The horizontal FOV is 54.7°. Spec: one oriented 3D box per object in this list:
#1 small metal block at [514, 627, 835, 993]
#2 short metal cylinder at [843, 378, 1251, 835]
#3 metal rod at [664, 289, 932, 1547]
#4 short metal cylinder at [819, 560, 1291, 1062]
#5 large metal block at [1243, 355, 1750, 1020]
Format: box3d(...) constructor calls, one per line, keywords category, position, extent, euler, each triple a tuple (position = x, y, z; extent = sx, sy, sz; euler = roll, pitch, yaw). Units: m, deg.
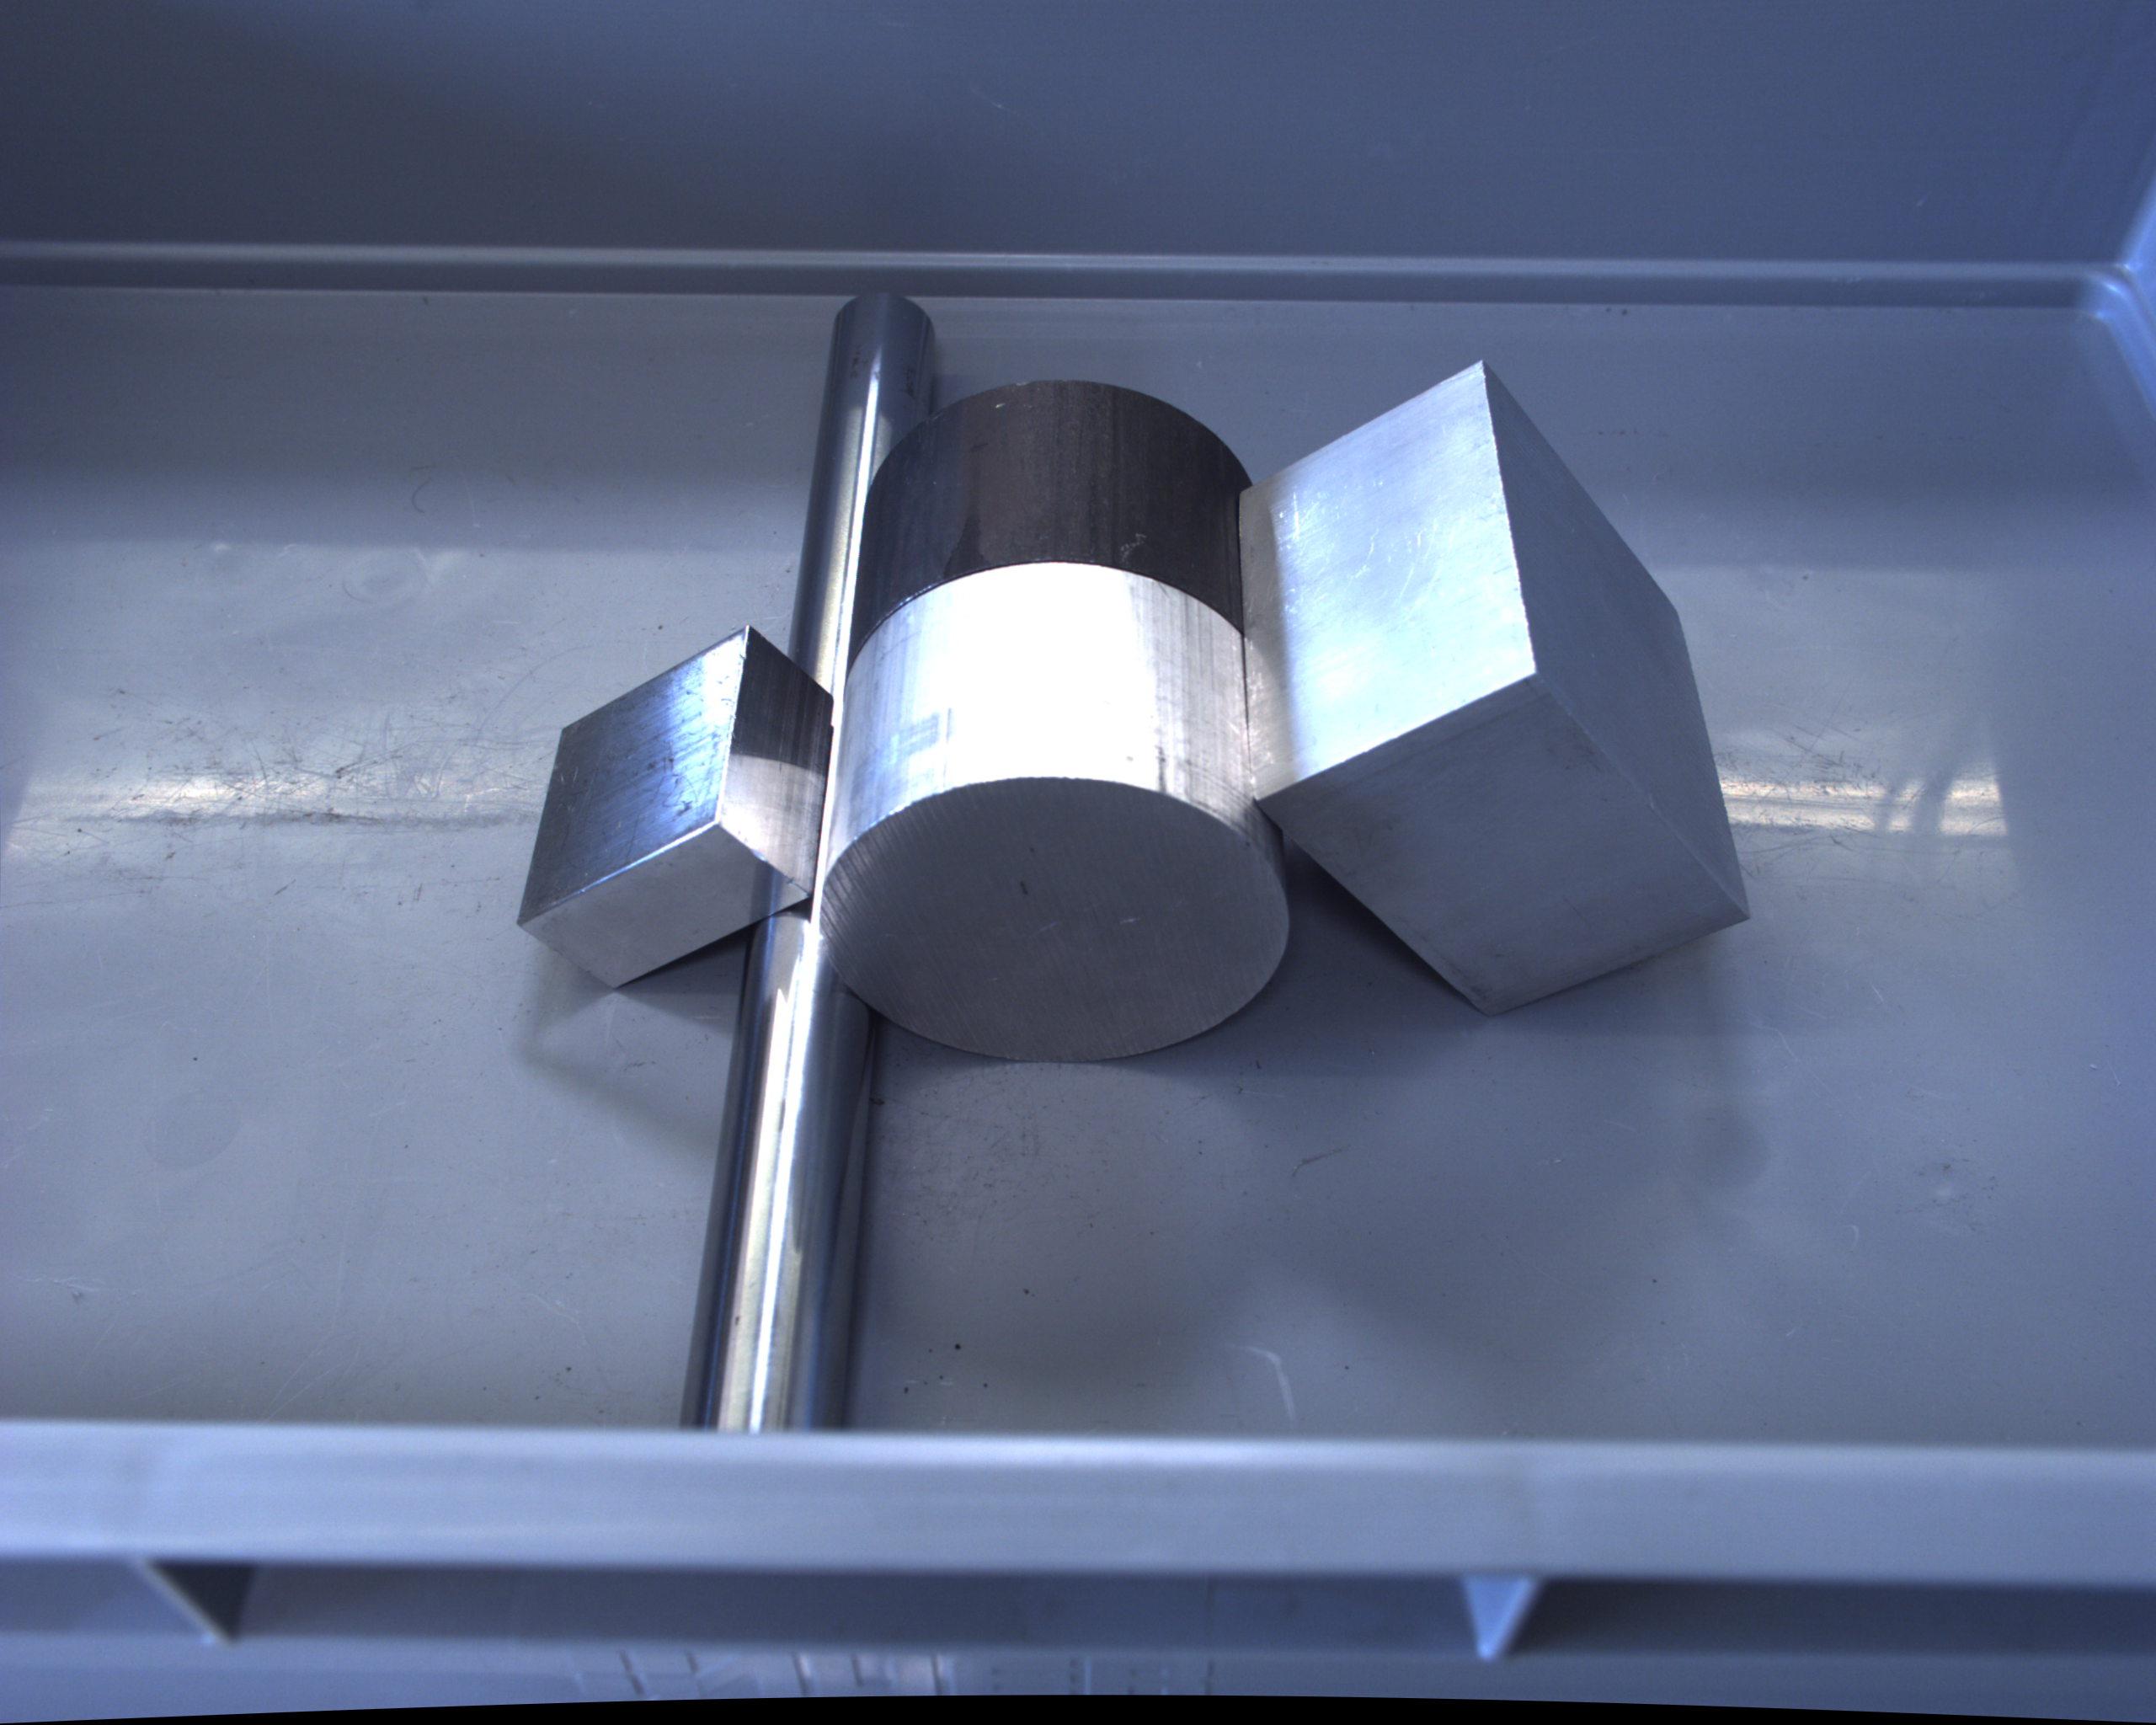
box3d(category="small metal block", position=(-0.075, -0.010, 0.396), extent=(0.050, 0.025, 0.050), euler=(-24, 44, 26))
box3d(category="short metal cylinder", position=(-0.003, -0.046, 0.405), extent=(0.081, 0.080, 0.050), euler=(0, 50, 0))
box3d(category="metal rod", position=(-0.049, -0.015, 0.414), extent=(0.025, 0.025, 0.300), euler=(0, 50, 0))
box3d(category="short metal cylinder", position=(-0.004, -0.007, 0.373), extent=(0.081, 0.080, 0.050), euler=(0, 50, 0))
box3d(category="large metal block", position=(0.075, -0.031, 0.384), extent=(0.050, 0.080, 0.080), euler=(-26, 44, 29))
